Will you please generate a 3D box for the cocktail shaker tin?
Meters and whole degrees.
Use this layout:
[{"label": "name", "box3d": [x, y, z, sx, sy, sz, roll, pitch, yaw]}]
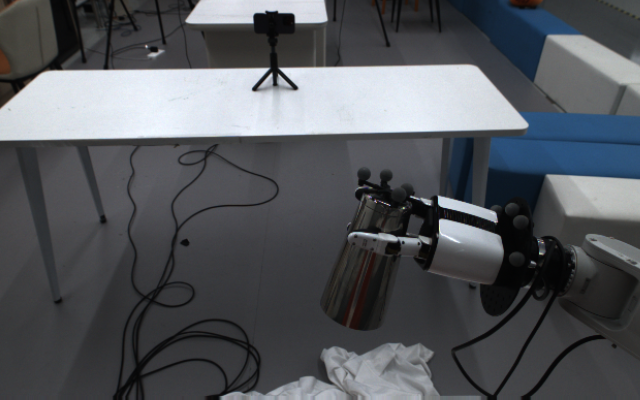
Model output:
[{"label": "cocktail shaker tin", "box3d": [0.068, 0.073, 0.646, 0.093, 0.170, 0.093, 14, 18, -5]}]
